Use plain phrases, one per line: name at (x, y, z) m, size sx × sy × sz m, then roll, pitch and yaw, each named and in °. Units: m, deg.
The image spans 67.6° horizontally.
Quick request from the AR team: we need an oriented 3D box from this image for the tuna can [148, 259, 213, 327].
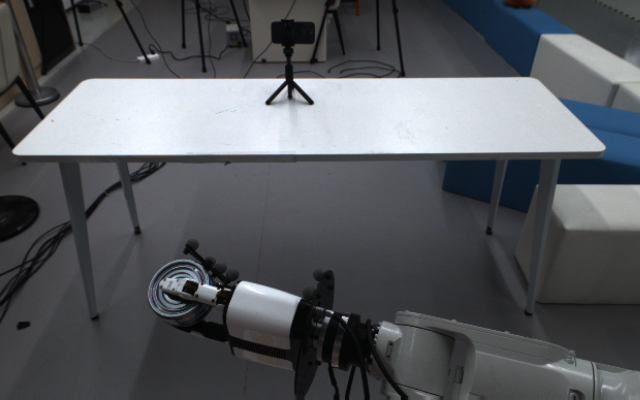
tuna can at (-0.182, 0.124, 0.647) m, size 0.085 × 0.034 × 0.085 m, roll -4°, pitch 58°, yaw 6°
